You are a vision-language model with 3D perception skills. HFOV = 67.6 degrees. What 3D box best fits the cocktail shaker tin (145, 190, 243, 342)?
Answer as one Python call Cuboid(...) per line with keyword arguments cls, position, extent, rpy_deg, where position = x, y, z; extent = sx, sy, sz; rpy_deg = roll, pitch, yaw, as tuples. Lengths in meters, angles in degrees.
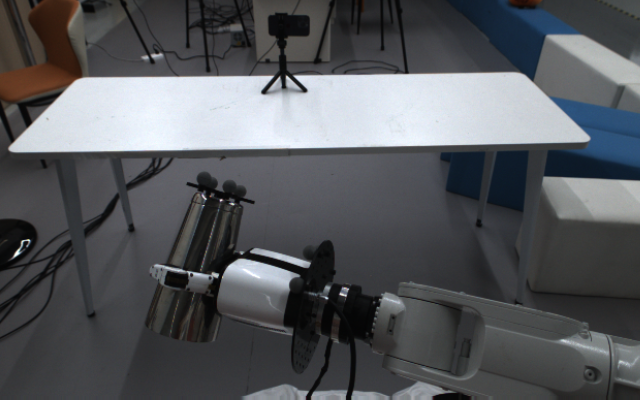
Cuboid(cls="cocktail shaker tin", position=(-0.150, 0.082, 0.612), extent=(0.093, 0.170, 0.093), rpy_deg=(15, -4, 1))
